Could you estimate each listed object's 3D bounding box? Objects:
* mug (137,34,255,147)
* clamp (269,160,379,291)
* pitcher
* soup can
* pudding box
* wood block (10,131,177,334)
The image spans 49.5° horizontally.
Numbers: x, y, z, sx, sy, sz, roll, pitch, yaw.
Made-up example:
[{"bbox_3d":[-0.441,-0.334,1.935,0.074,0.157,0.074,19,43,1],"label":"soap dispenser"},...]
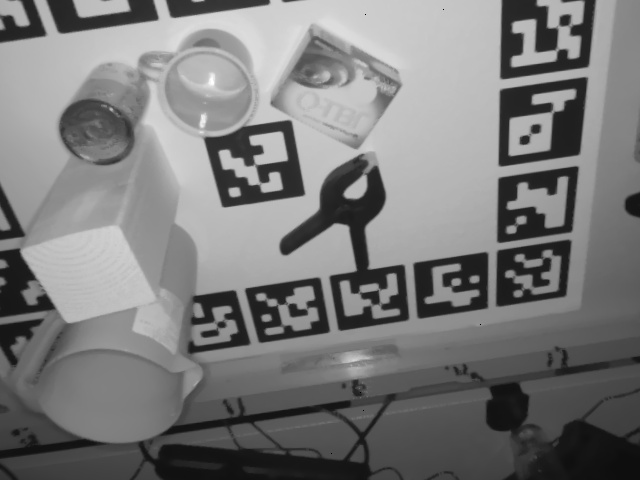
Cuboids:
[{"bbox_3d":[-0.121,-0.156,0.680,0.118,0.082,0.092,22,122,-21],"label":"mug"},{"bbox_3d":[0.021,-0.021,0.825,0.122,0.037,0.163,20,119,-10],"label":"clamp"},{"bbox_3d":[-0.221,0.095,0.742,0.189,0.243,0.132,-10,127,-2],"label":"pitcher"},{"bbox_3d":[-0.210,-0.120,0.680,0.068,0.102,0.067,-3,122,-4],"label":"soup can"},{"bbox_3d":[0.023,-0.151,0.730,0.115,0.039,0.089,24,115,-22],"label":"pudding box"},{"bbox_3d":[-0.213,-0.015,0.687,0.090,0.208,0.090,-9,125,5],"label":"wood block"}]
